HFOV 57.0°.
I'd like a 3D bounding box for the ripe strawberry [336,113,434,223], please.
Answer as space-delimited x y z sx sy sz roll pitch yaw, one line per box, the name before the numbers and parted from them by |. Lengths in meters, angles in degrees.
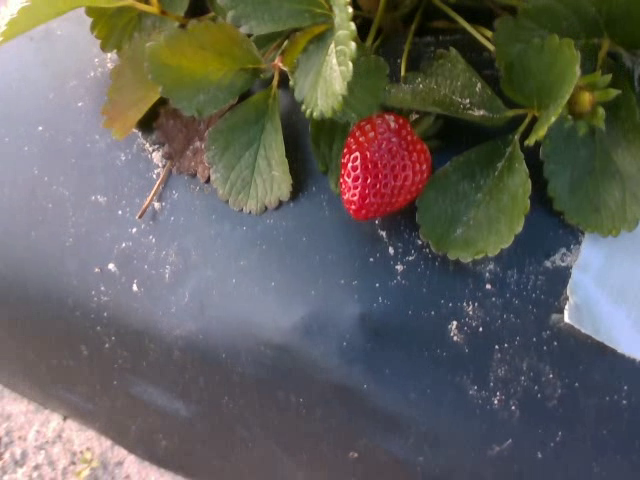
ripe strawberry | 0.011 -0.012 0.109 0.018 0.023 0.021 14 -25 33
